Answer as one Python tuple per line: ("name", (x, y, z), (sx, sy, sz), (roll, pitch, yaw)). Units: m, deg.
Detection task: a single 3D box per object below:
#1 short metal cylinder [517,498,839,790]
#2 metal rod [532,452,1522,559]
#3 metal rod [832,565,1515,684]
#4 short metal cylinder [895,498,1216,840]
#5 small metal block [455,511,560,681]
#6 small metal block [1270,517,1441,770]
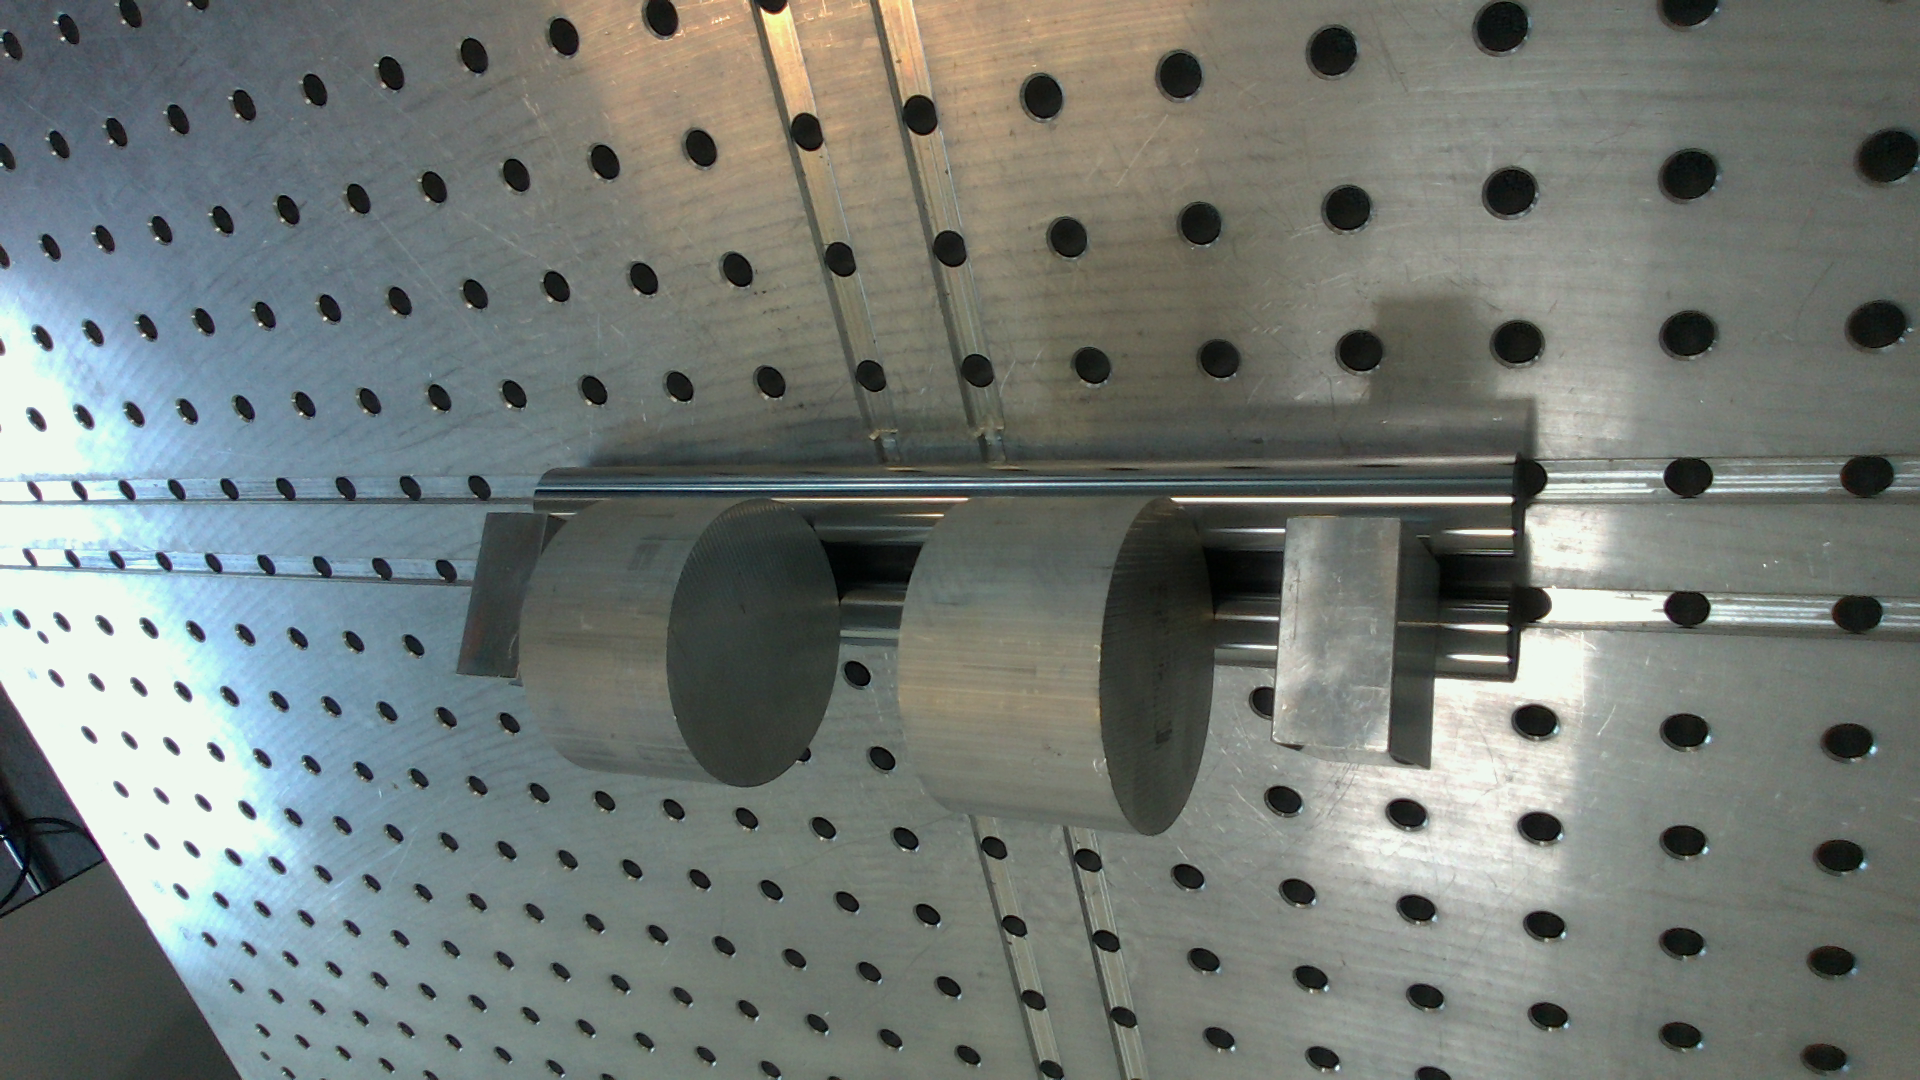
("short metal cylinder", (-0.077, 0.028, 0.391), (0.050, 0.080, 0.080), (1, 119, 28))
("metal rod", (-0.002, -0.010, 0.391), (0.299, 0.025, 0.025), (1, 119, 28))
("metal rod", (0.003, 0.021, 0.407), (0.299, 0.025, 0.025), (1, 119, 28))
("short metal cylinder", (0.026, 0.030, 0.336), (0.050, 0.080, 0.080), (1, 119, 28))
("small metal block", (-0.125, 0.022, 0.431), (0.025, 0.050, 0.050), (1, 77, 28))
("small metal block", (0.092, 0.025, 0.316), (0.025, 0.050, 0.050), (1, 78, 29))
